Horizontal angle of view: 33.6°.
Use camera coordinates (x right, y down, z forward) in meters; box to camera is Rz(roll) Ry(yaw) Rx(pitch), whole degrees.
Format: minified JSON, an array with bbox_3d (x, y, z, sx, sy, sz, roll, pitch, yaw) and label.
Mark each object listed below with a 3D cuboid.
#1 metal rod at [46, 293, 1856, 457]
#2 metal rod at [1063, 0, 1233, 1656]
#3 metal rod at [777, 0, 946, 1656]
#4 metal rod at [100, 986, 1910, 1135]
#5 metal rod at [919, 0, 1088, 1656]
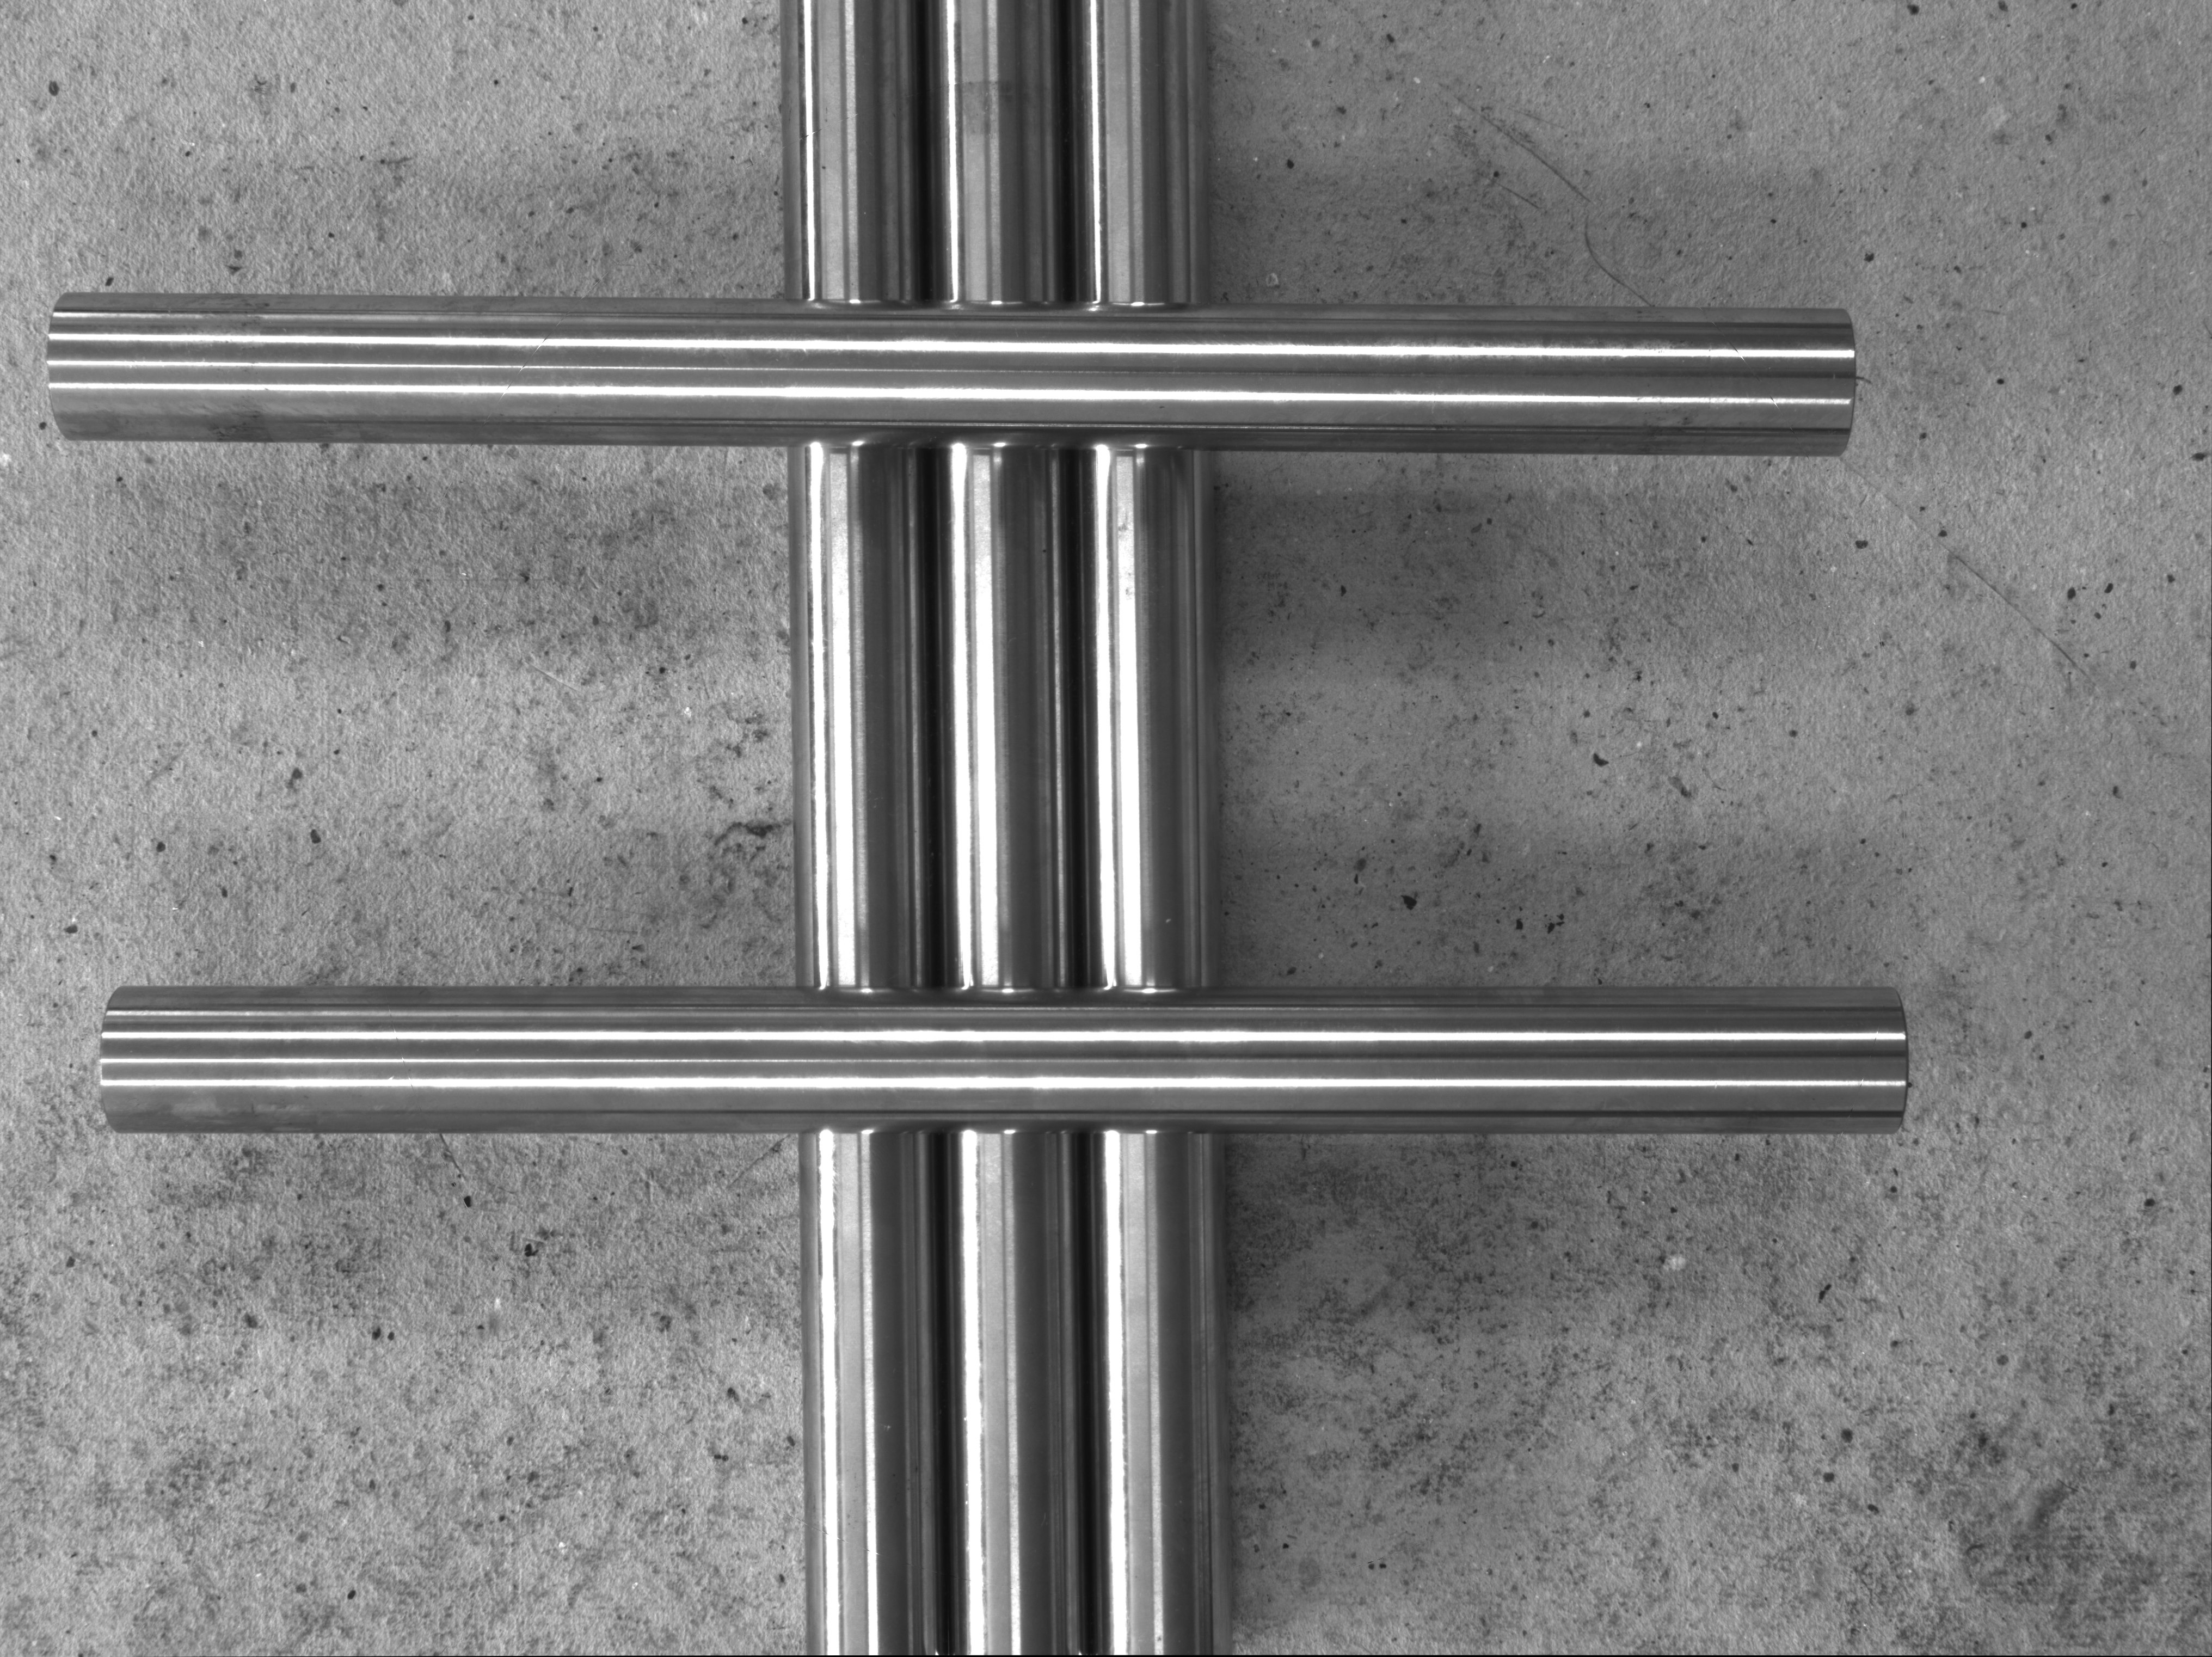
[{"bbox_3d":[-0.025,-0.077,0.620,0.300,0.025,0.025,0,90,0],"label":"metal rod"},{"bbox_3d":[0.007,-0.004,0.645,0.025,0.025,0.300,-1,90,0],"label":"metal rod"},{"bbox_3d":[-0.043,-0.004,0.645,0.025,0.025,0.300,-1,90,0],"label":"metal rod"},{"bbox_3d":[-0.017,0.039,0.620,0.300,0.025,0.025,0,90,0],"label":"metal rod"},{"bbox_3d":[-0.018,-0.004,0.645,0.025,0.025,0.300,-1,90,0],"label":"metal rod"}]
